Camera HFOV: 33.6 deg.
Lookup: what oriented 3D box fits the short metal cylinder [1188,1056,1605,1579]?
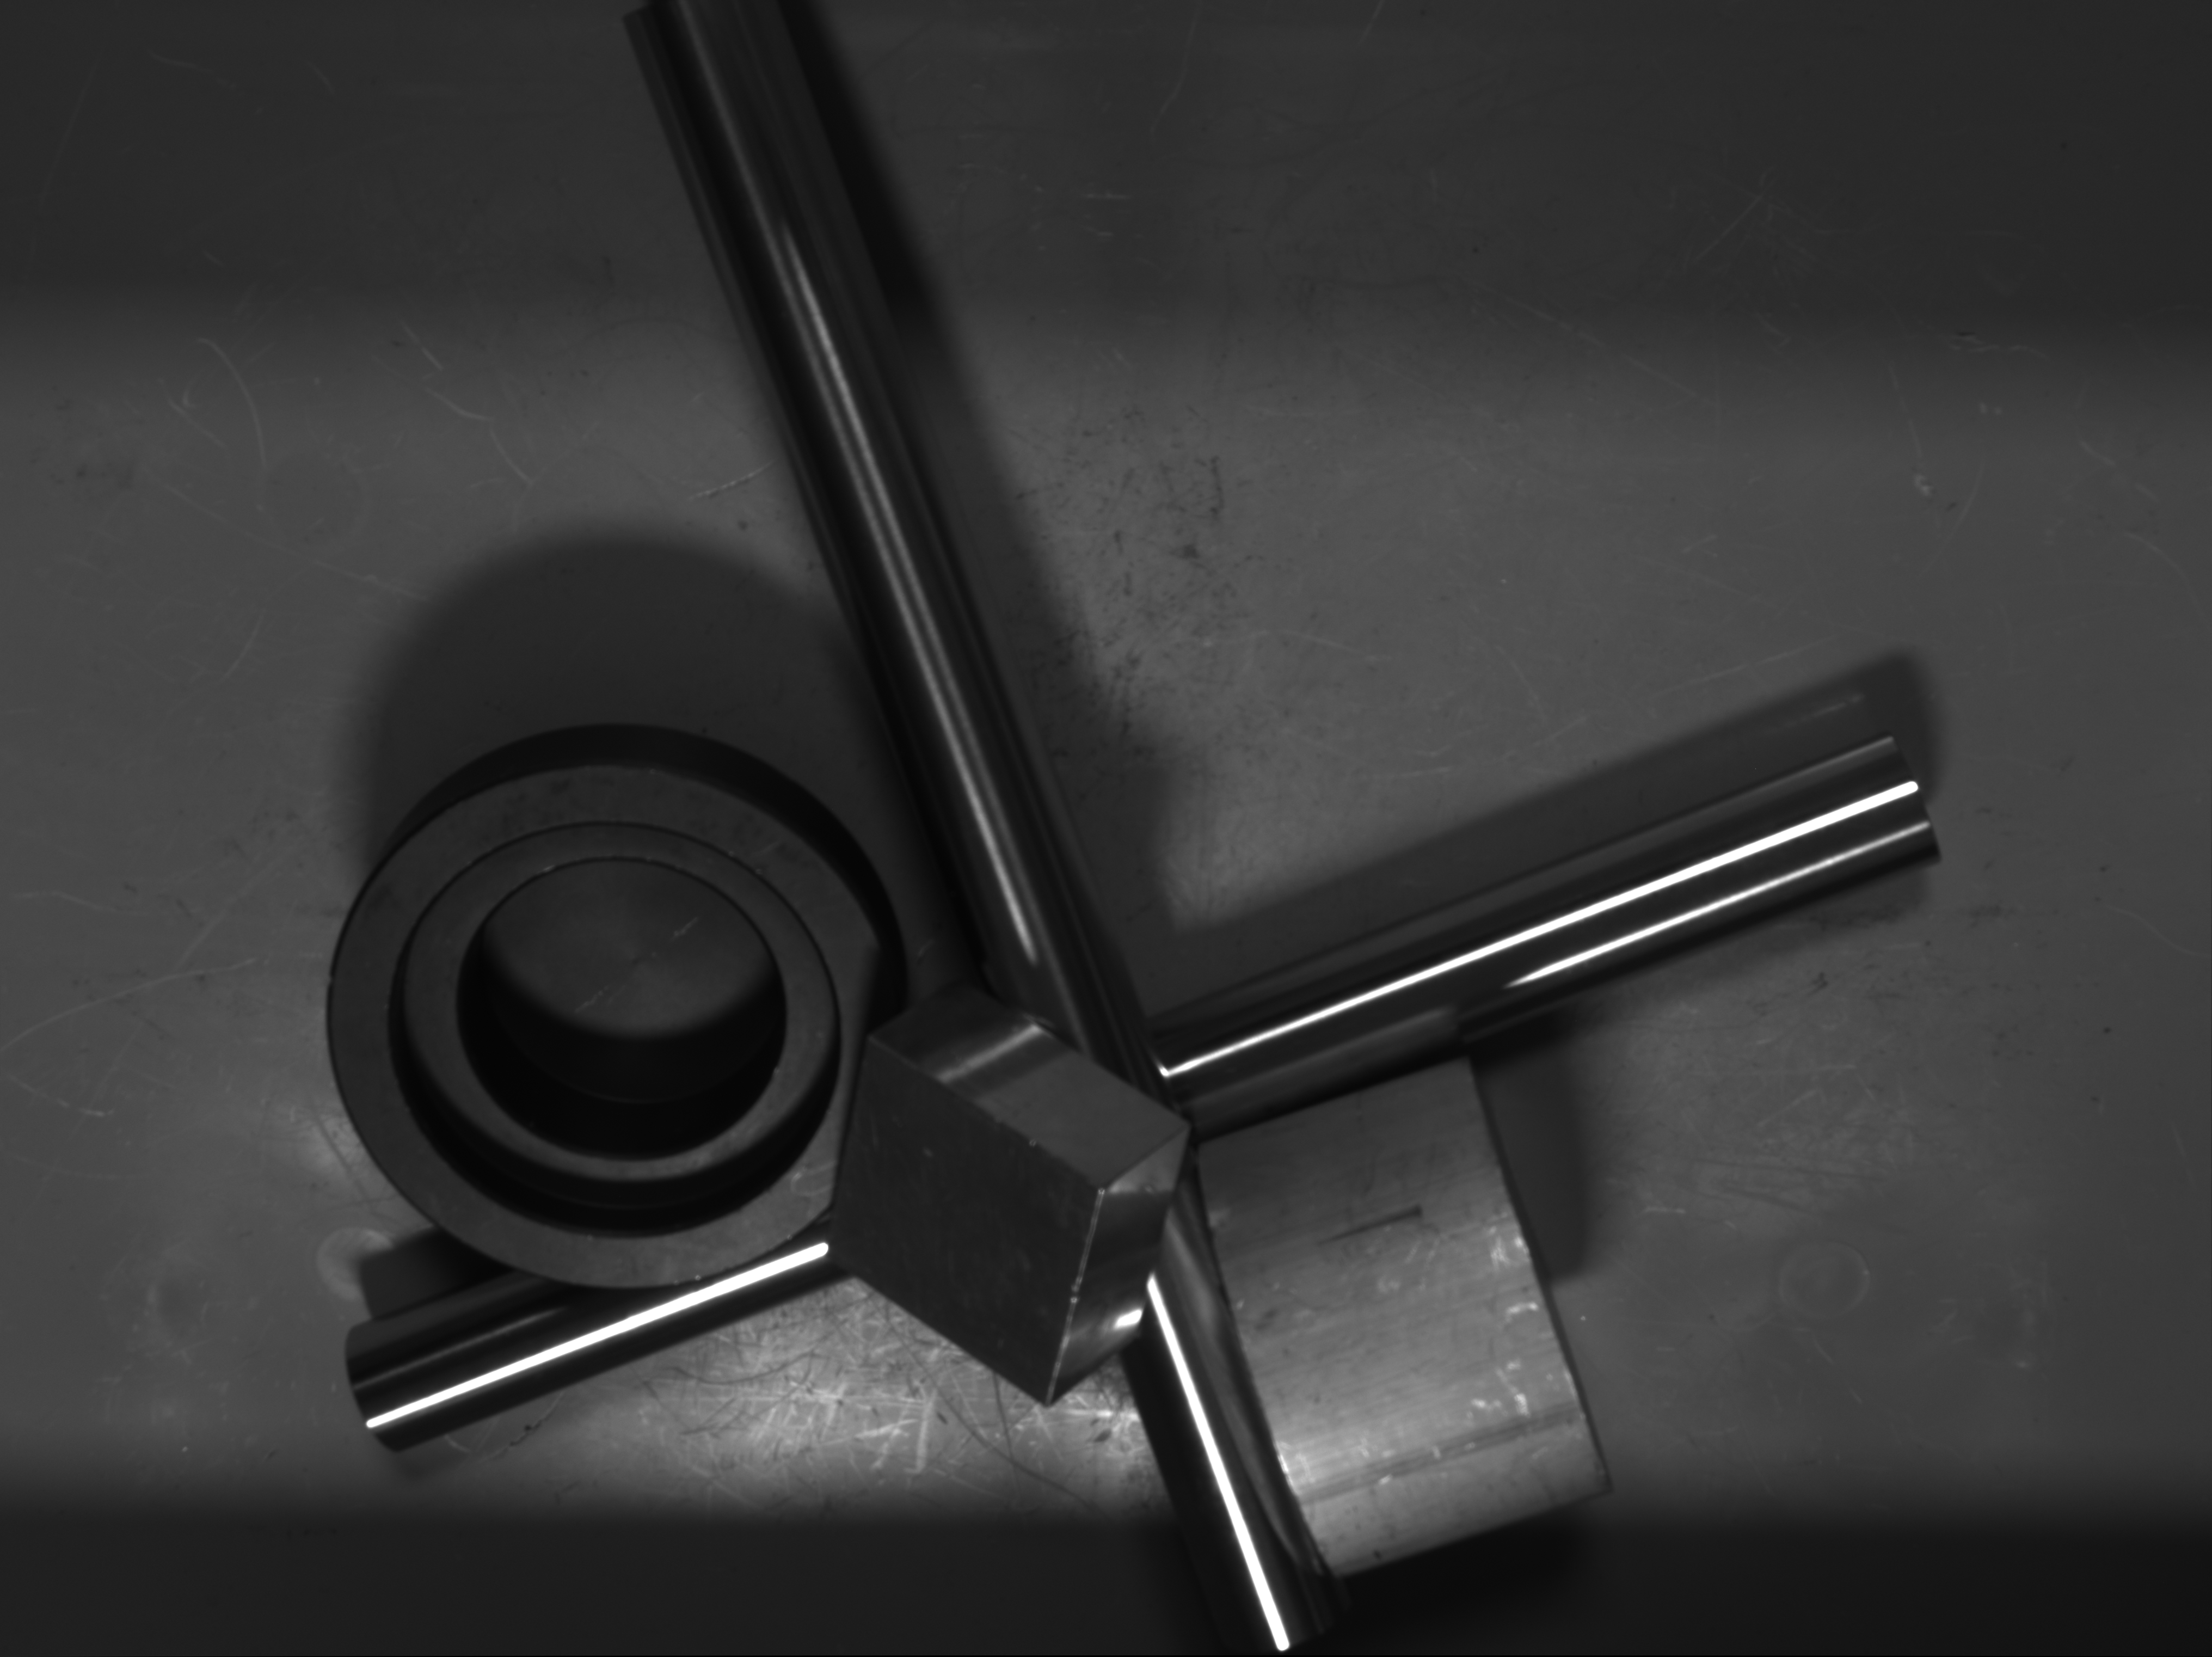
[{"bbox_3d":[0.051,0.086,0.645,0.050,0.080,0.080,-19,109,6],"label":"short metal cylinder"}]

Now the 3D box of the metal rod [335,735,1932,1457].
[{"bbox_3d":[0.002,0.050,0.660,0.300,0.025,0.025,-22,109,7],"label":"metal rod"}]

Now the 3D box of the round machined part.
[{"bbox_3d":[-0.086,0.027,0.642,0.098,0.042,0.098,0,110,-1],"label":"round machined part"}]

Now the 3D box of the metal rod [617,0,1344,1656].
[{"bbox_3d":[-0.018,0.003,0.624,0.025,0.025,0.300,-18,102,6],"label":"metal rod"}]

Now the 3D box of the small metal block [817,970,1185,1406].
[{"bbox_3d":[-0.019,0.061,0.620,0.050,0.025,0.050,31,129,23],"label":"small metal block"}]
